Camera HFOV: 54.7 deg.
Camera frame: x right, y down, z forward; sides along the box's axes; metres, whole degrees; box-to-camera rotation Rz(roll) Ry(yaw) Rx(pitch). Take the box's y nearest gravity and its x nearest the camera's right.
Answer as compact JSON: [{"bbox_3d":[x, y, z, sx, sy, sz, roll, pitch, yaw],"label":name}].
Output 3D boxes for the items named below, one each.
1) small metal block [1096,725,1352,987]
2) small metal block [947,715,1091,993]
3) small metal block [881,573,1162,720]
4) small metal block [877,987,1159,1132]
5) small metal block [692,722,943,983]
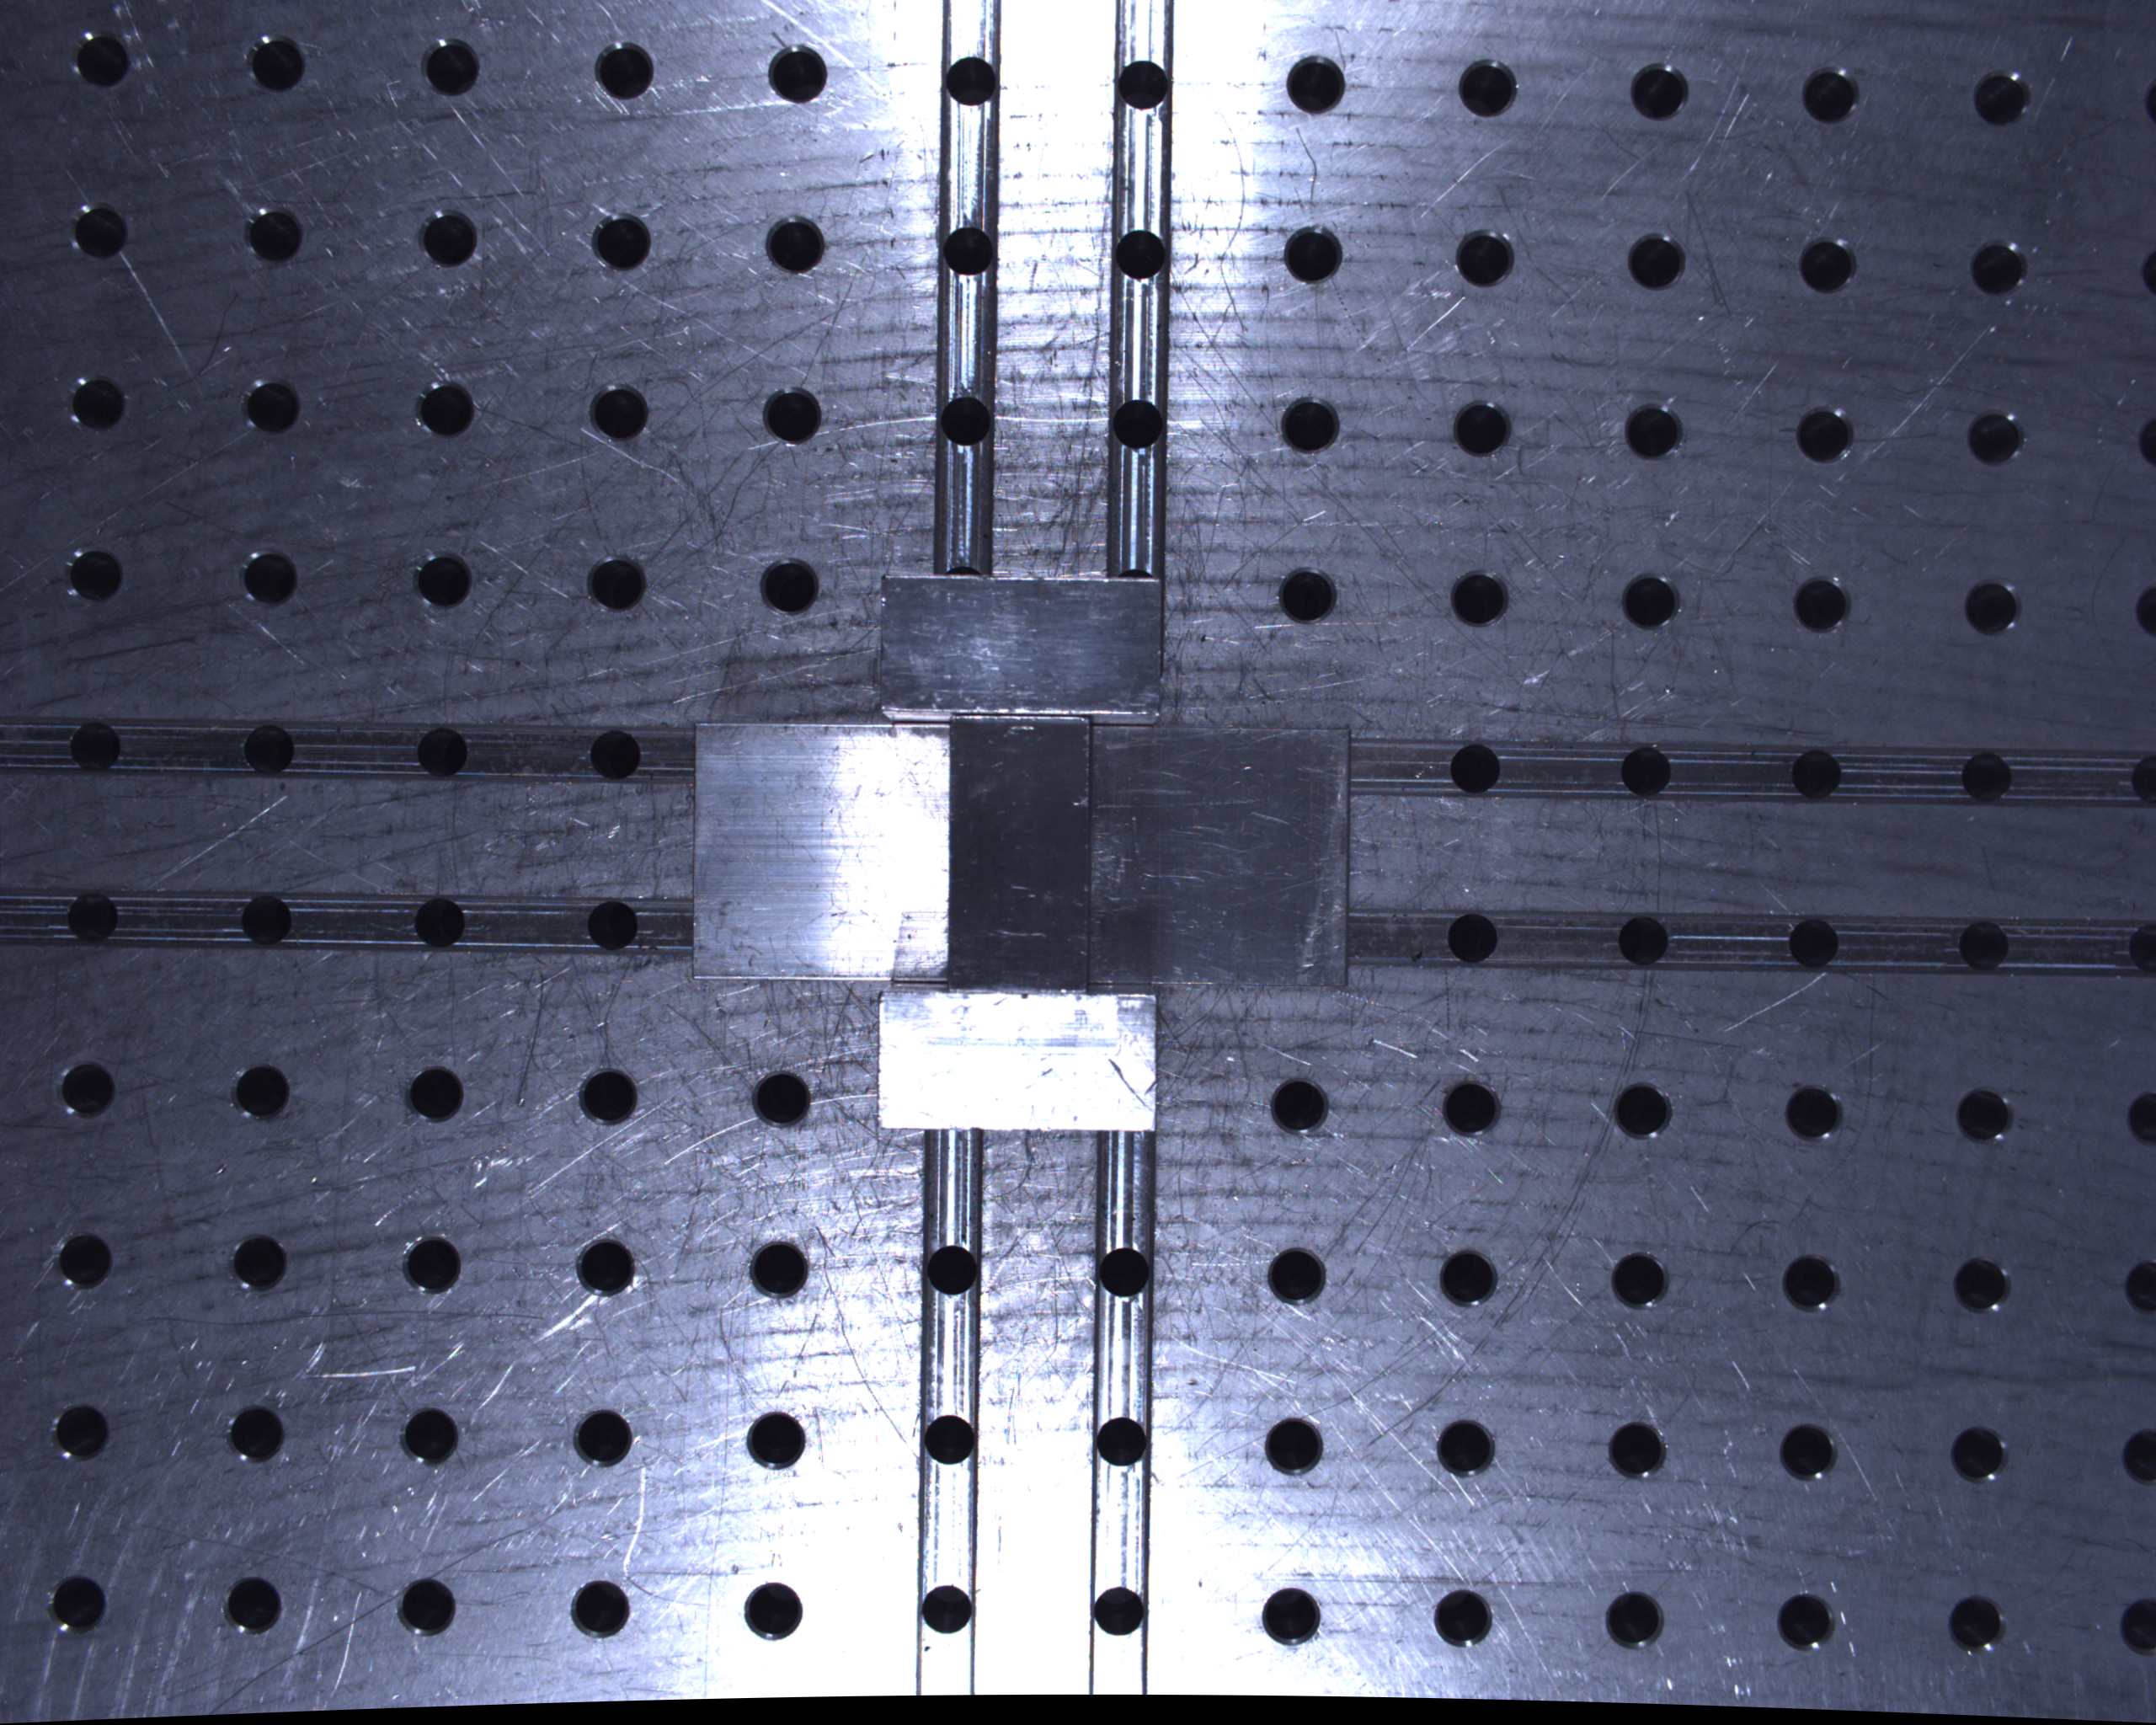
[{"bbox_3d":[0.027,-0.001,0.413,0.050,0.025,0.050,1,90,-1],"label":"small metal block"},{"bbox_3d":[-0.011,-0.002,0.400,0.025,0.050,0.050,1,90,0],"label":"small metal block"},{"bbox_3d":[-0.010,-0.039,0.400,0.050,0.050,0.025,1,90,-1],"label":"small metal block"},{"bbox_3d":[-0.011,0.036,0.400,0.050,0.050,0.025,1,90,-1],"label":"small metal block"},{"bbox_3d":[-0.049,-0.002,0.412,0.050,0.025,0.050,1,90,-1],"label":"small metal block"}]
